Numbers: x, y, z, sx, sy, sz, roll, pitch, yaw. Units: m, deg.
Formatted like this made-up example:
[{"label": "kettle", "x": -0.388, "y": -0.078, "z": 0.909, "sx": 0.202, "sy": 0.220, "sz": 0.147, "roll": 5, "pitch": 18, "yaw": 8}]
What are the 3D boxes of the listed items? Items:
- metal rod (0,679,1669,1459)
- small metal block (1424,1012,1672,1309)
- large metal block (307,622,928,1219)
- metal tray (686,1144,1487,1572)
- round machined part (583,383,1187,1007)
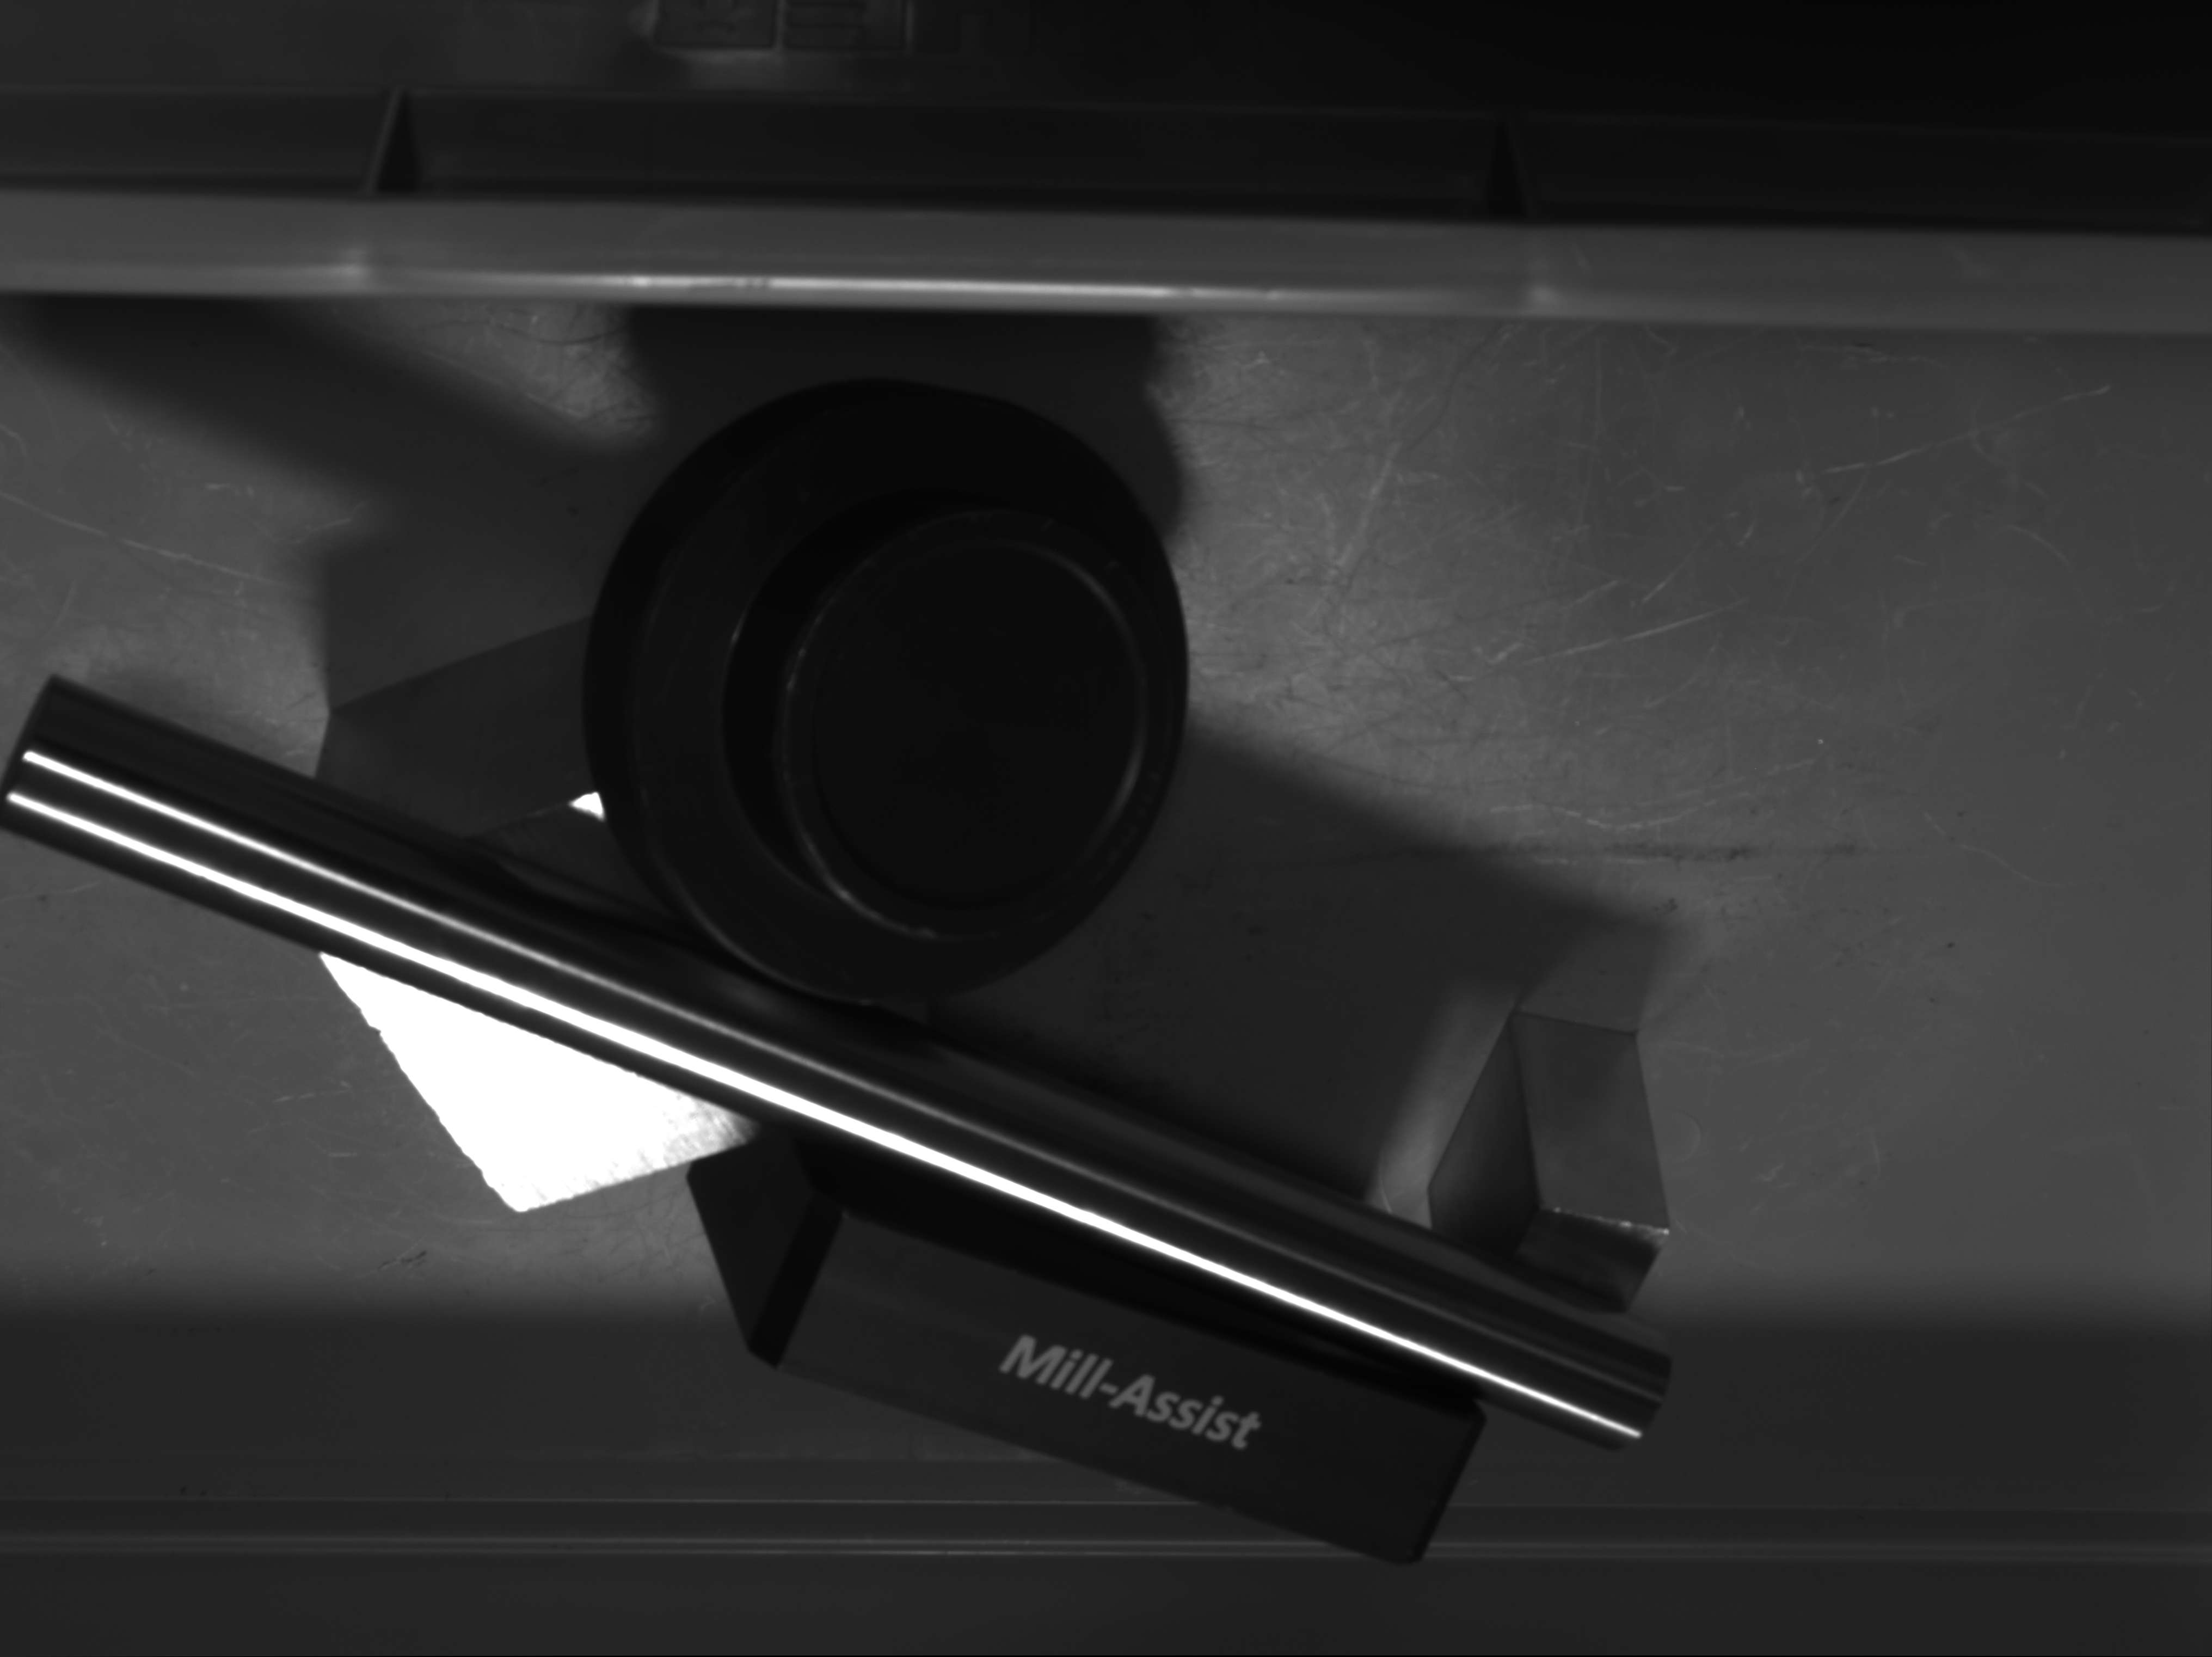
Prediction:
[{"label": "metal rod", "x": -0.036, "y": 0.045, "z": 0.607, "sx": 0.301, "sy": 0.025, "sz": 0.025, "roll": 23, "pitch": 125, "yaw": -20}, {"label": "small metal block", "x": 0.081, "y": 0.071, "z": 0.683, "sx": 0.025, "sy": 0.050, "sz": 0.050, "roll": 11, "pitch": 129, "yaw": -11}, {"label": "large metal block", "x": -0.083, "y": 0.012, "z": 0.628, "sx": 0.080, "sy": 0.050, "sz": 0.080, "roll": -18, "pitch": 128, "yaw": 13}, {"label": "metal tray", "x": -0.006, "y": 0.085, "z": 0.661, "sx": 0.130, "sy": 0.090, "sz": 0.030, "roll": 21, "pitch": 99, "yaw": -19}, {"label": "round machined part", "x": -0.029, "y": -0.019, "z": 0.575, "sx": 0.098, "sy": 0.042, "sz": 0.098, "roll": -7, "pitch": 104, "yaw": -29}]
